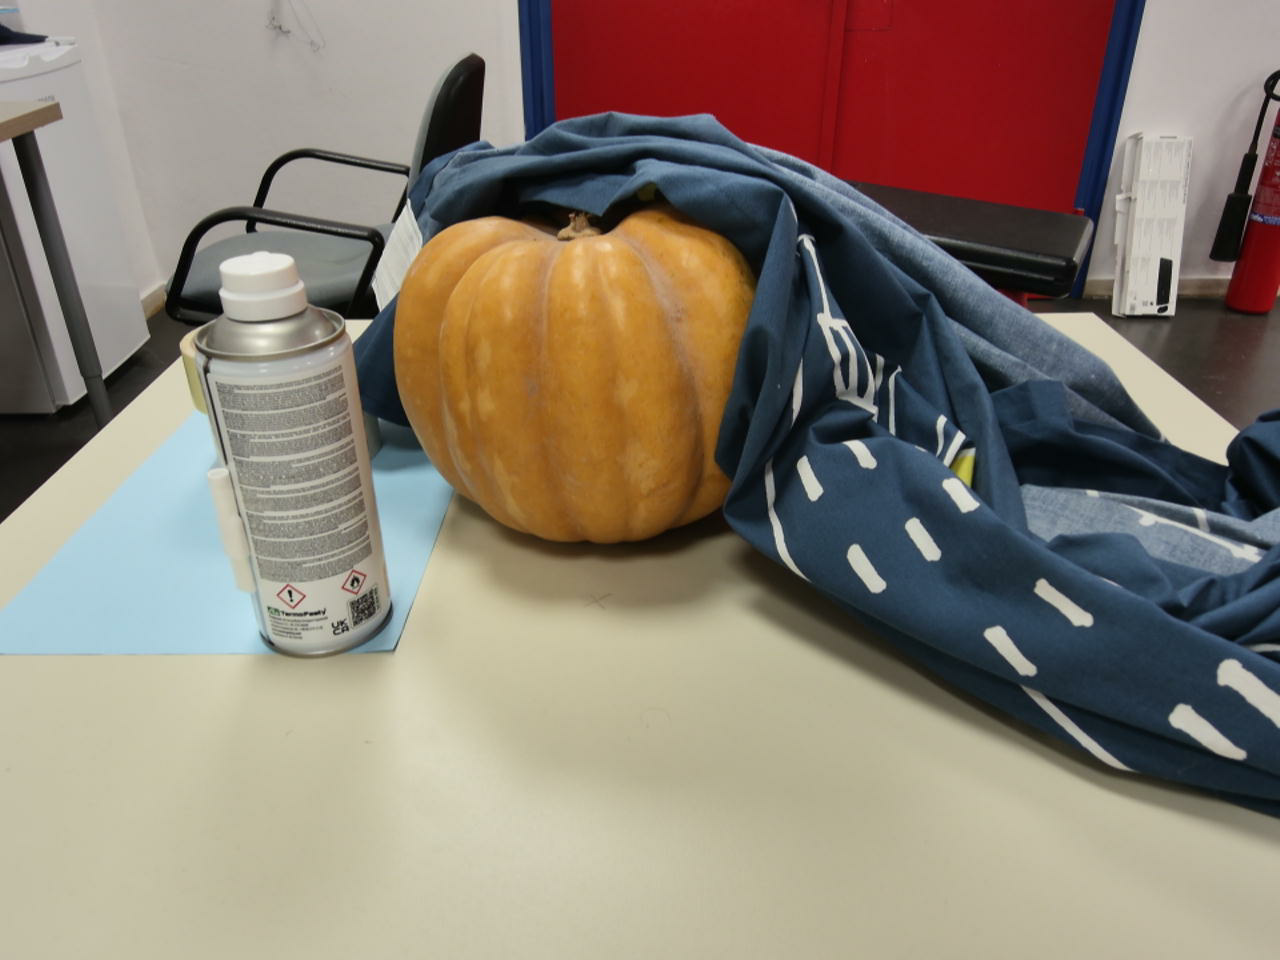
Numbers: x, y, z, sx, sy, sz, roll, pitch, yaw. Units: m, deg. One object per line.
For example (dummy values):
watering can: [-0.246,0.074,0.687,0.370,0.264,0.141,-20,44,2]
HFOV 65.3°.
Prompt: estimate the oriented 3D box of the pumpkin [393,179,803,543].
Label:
pumpkin: [-0.020,-0.068,0.573,0.230,0.194,0.230,1,27,0]
